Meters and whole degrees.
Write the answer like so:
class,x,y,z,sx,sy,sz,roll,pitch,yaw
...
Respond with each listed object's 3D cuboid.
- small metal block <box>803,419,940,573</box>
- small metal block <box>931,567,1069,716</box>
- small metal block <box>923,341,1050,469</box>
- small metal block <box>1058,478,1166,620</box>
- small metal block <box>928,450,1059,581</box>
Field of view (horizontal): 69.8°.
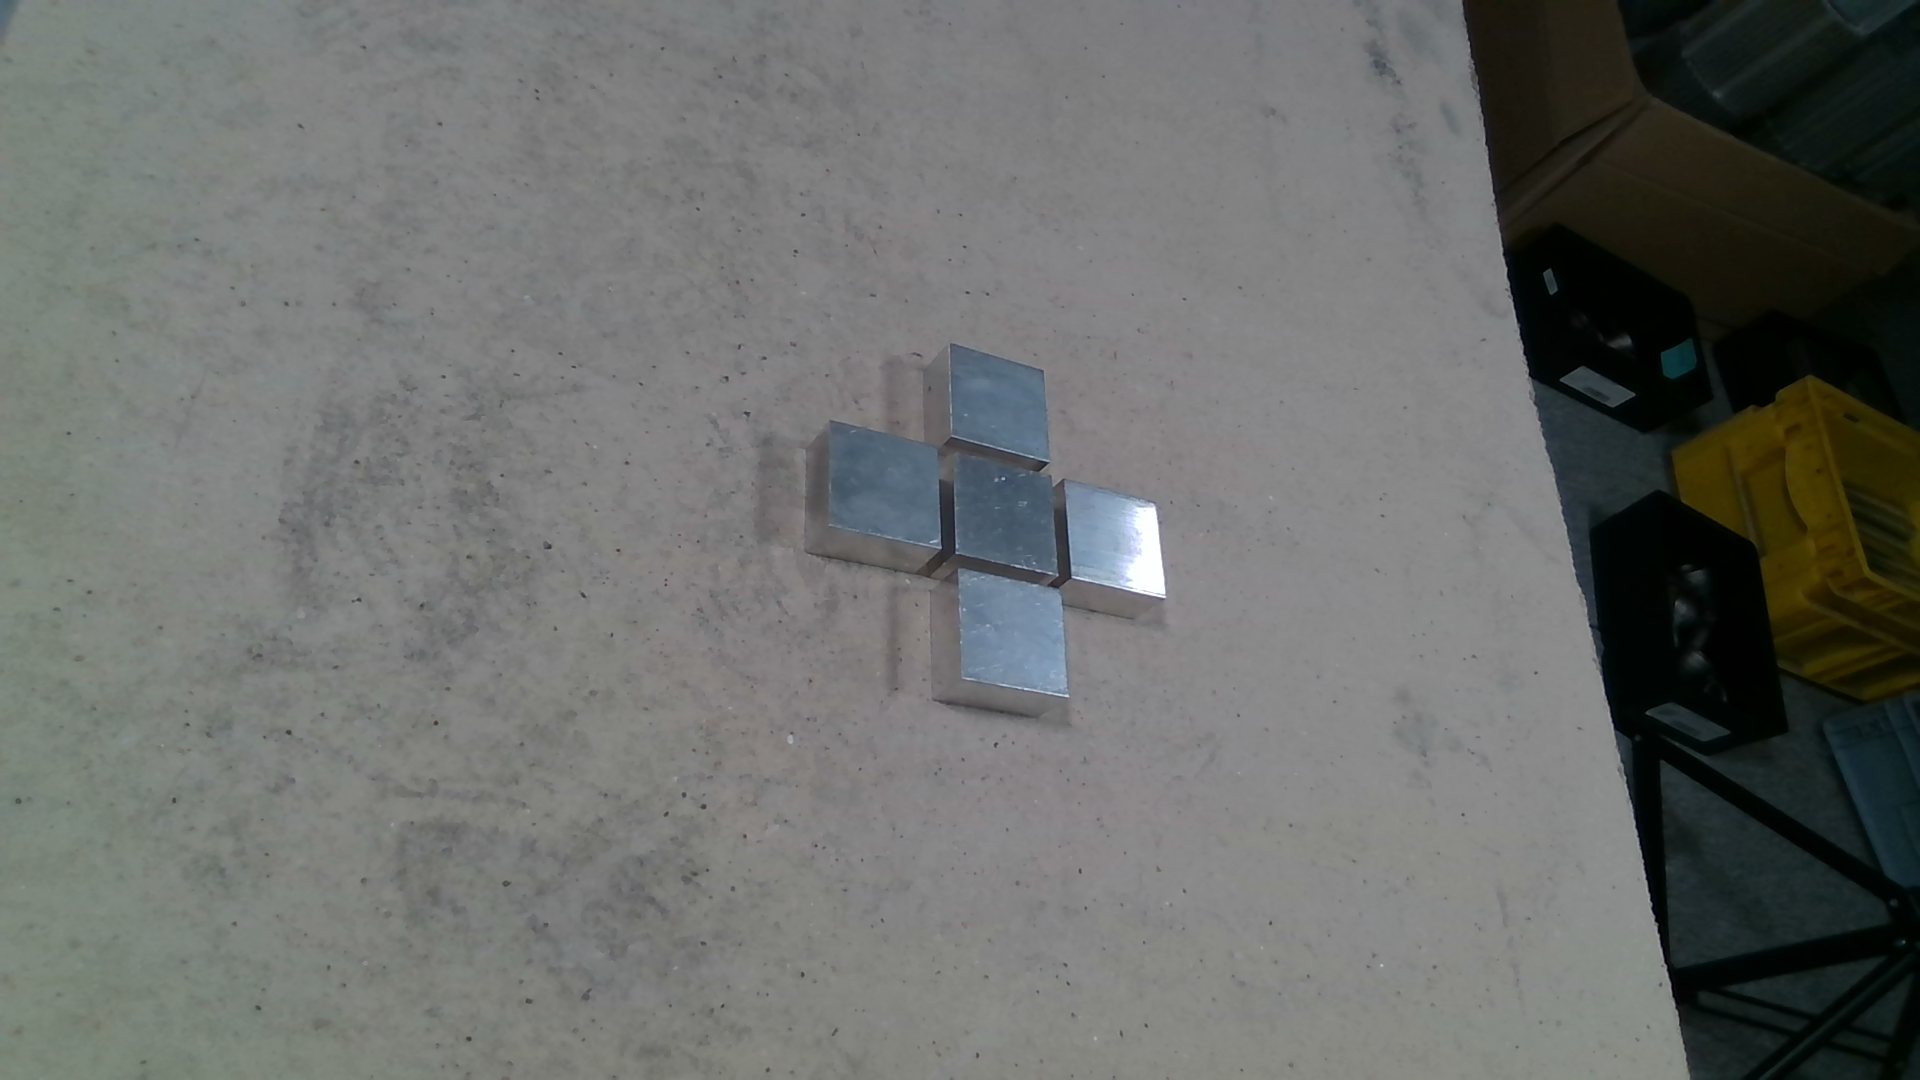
class,x,y,z,sx,sy,sz,roll,pitch,yaw
small metal block,-0.037,-0.018,0.573,0.050,0.025,0.050,12,60,-26
small metal block,0.016,0.043,0.573,0.050,0.025,0.050,13,59,-26
small metal block,0.011,-0.057,0.624,0.050,0.025,0.050,13,59,-26
small metal block,0.063,0.005,0.623,0.050,0.025,0.050,13,59,-26
small metal block,0.014,-0.006,0.598,0.050,0.025,0.050,13,59,-26
